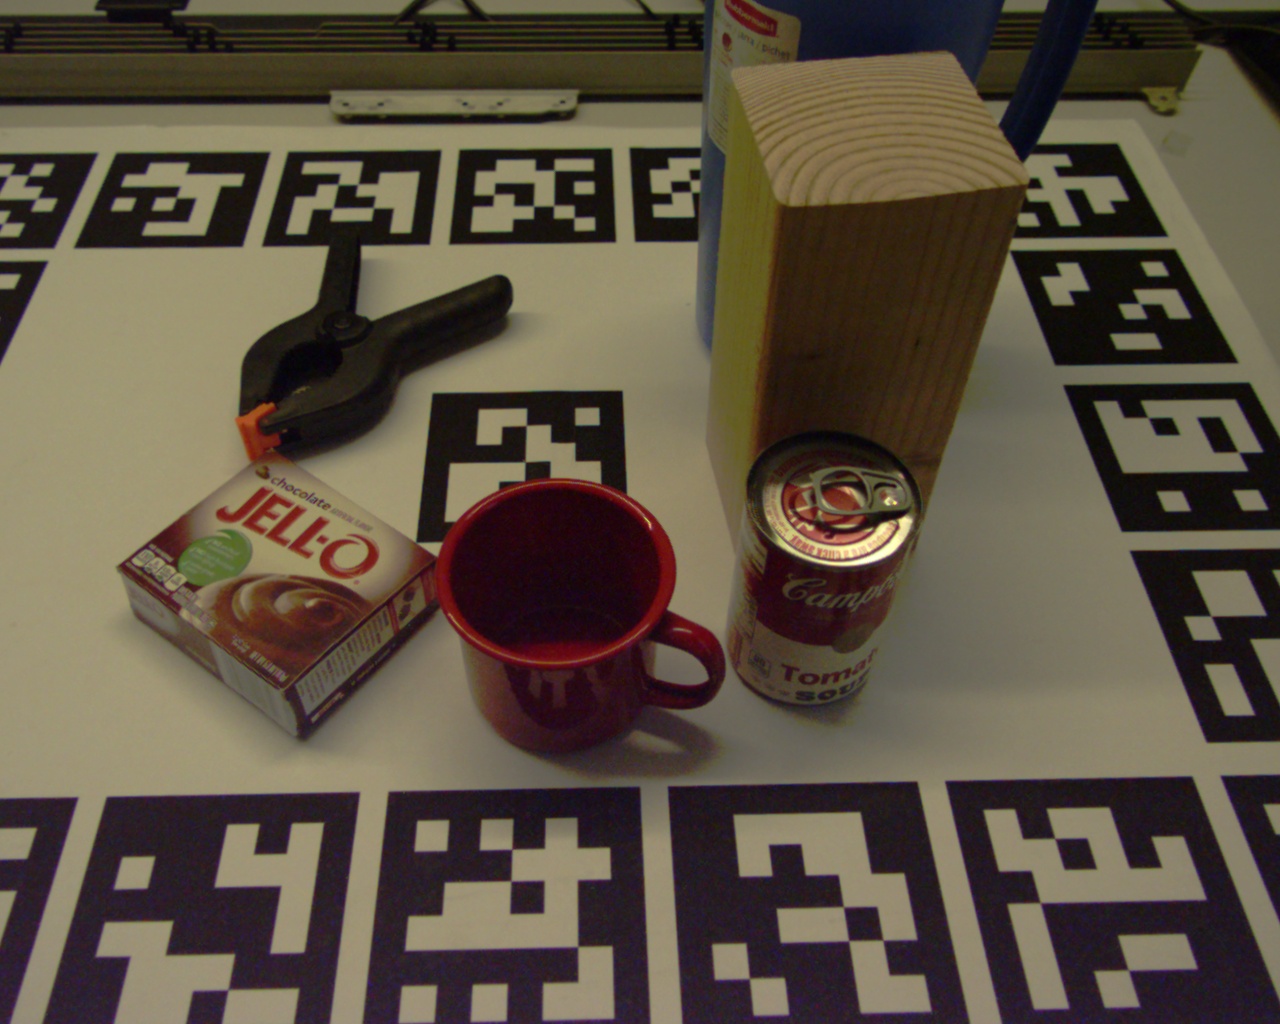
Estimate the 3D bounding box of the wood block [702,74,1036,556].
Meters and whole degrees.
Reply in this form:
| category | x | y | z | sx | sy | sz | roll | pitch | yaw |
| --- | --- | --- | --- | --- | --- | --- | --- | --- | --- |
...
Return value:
| category | x | y | z | sx | sy | sz | roll | pitch | yaw |
| --- | --- | --- | --- | --- | --- | --- | --- | --- | --- |
| wood block | 0.090 | -0.079 | 0.516 | 0.089 | 0.206 | 0.091 | -1 | 50 | -7 |

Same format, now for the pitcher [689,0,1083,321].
| category | x | y | z | sx | sy | sz | roll | pitch | yaw |
| --- | --- | --- | --- | --- | --- | --- | --- | --- | --- |
| pitcher | 0.110 | -0.183 | 0.582 | 0.189 | 0.241 | 0.134 | -3 | 48 | 0 |

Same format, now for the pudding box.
| category | x | y | z | sx | sy | sz | roll | pitch | yaw |
| --- | --- | --- | --- | --- | --- | --- | --- | --- | --- |
| pudding box | -0.161 | 0.030 | 0.539 | 0.115 | 0.038 | 0.089 | 29 | 59 | 22 |

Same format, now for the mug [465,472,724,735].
| category | x | y | z | sx | sy | sz | roll | pitch | yaw |
| --- | --- | --- | --- | --- | --- | --- | --- | --- | --- |
| mug | -0.016 | 0.048 | 0.493 | 0.118 | 0.081 | 0.092 | 27 | 53 | 22 |

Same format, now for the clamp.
| category | x | y | z | sx | sy | sz | roll | pitch | yaw |
| --- | --- | --- | --- | --- | --- | --- | --- | --- | --- |
| clamp | -0.146 | -0.091 | 0.647 | 0.122 | 0.036 | 0.164 | 26 | 55 | 11 |

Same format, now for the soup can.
| category | x | y | z | sx | sy | sz | roll | pitch | yaw |
| --- | --- | --- | --- | --- | --- | --- | --- | --- | --- |
| soup can | 0.076 | 0.024 | 0.498 | 0.068 | 0.101 | 0.068 | 0 | 53 | -1 |
